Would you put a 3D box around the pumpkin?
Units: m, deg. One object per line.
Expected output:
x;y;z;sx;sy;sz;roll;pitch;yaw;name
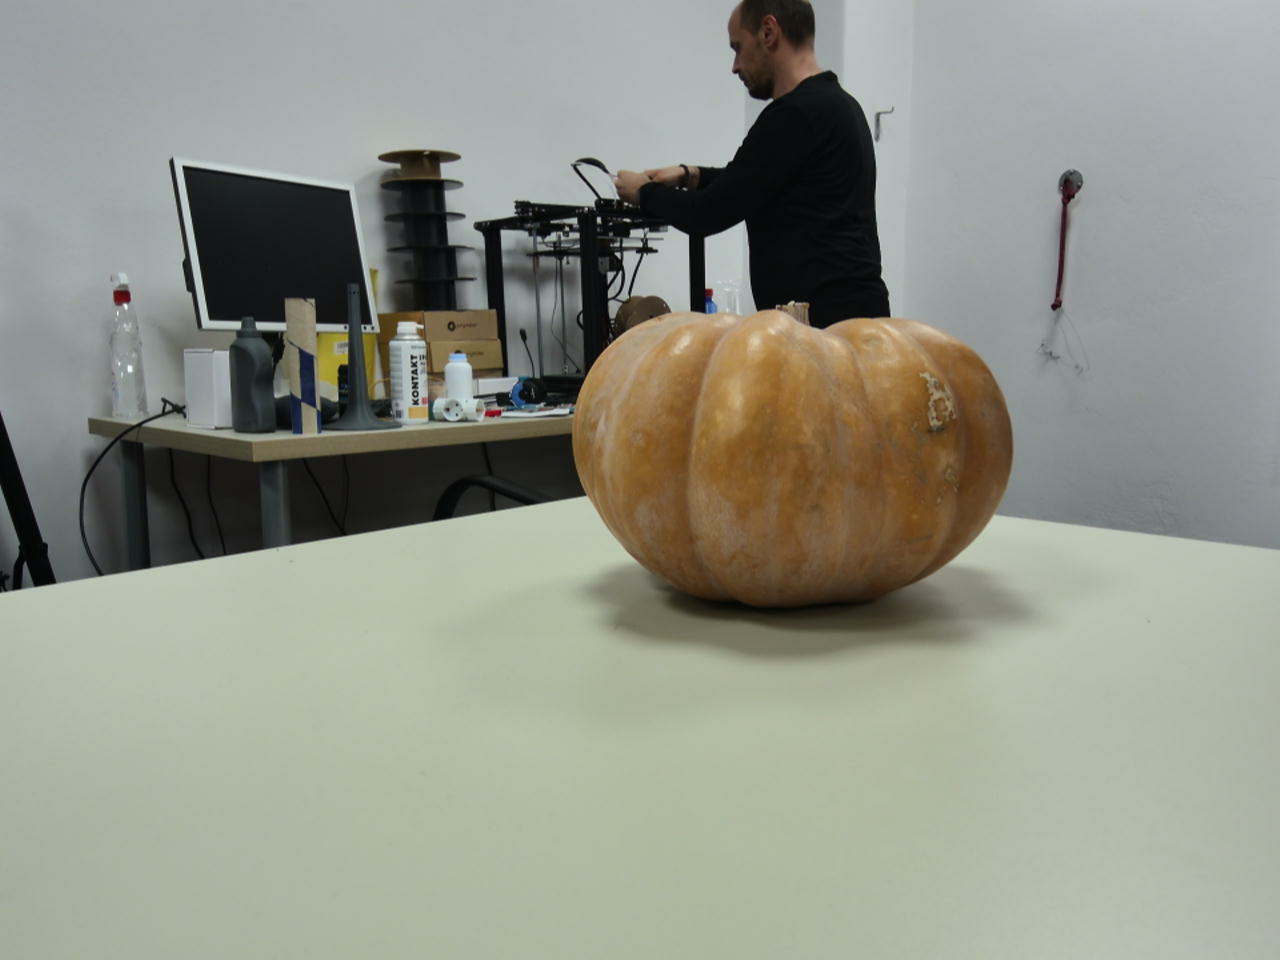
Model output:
0.088;-0.018;0.634;0.277;0.181;0.277;1;6;0;pumpkin
